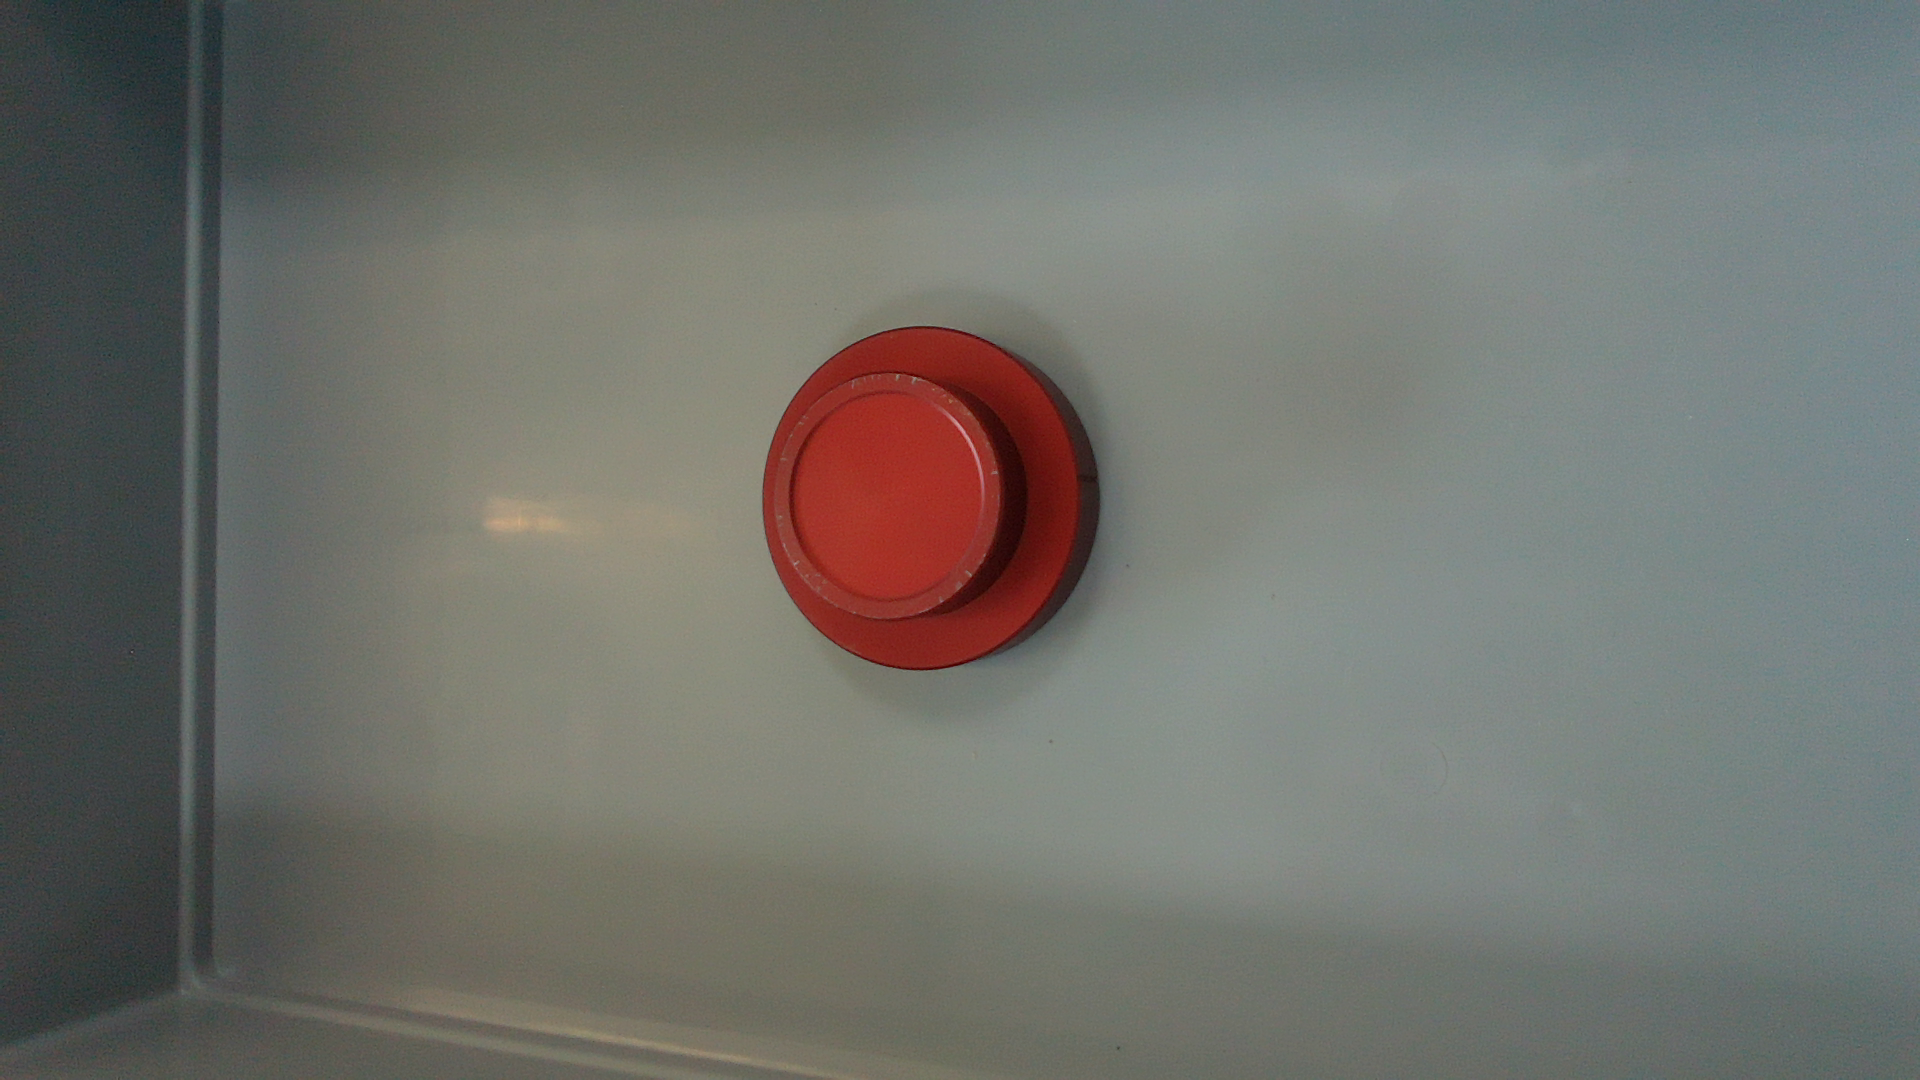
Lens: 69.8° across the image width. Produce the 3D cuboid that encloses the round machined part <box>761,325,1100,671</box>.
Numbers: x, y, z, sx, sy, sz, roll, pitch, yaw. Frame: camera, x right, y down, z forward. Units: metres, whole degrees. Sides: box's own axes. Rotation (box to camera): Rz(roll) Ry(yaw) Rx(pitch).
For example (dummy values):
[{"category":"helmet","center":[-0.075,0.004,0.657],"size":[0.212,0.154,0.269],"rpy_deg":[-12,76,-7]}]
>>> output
[{"category":"round machined part","center":[-0.013,-0.012,0.389],"size":[0.098,0.042,0.098],"rpy_deg":[0,90,20]}]
